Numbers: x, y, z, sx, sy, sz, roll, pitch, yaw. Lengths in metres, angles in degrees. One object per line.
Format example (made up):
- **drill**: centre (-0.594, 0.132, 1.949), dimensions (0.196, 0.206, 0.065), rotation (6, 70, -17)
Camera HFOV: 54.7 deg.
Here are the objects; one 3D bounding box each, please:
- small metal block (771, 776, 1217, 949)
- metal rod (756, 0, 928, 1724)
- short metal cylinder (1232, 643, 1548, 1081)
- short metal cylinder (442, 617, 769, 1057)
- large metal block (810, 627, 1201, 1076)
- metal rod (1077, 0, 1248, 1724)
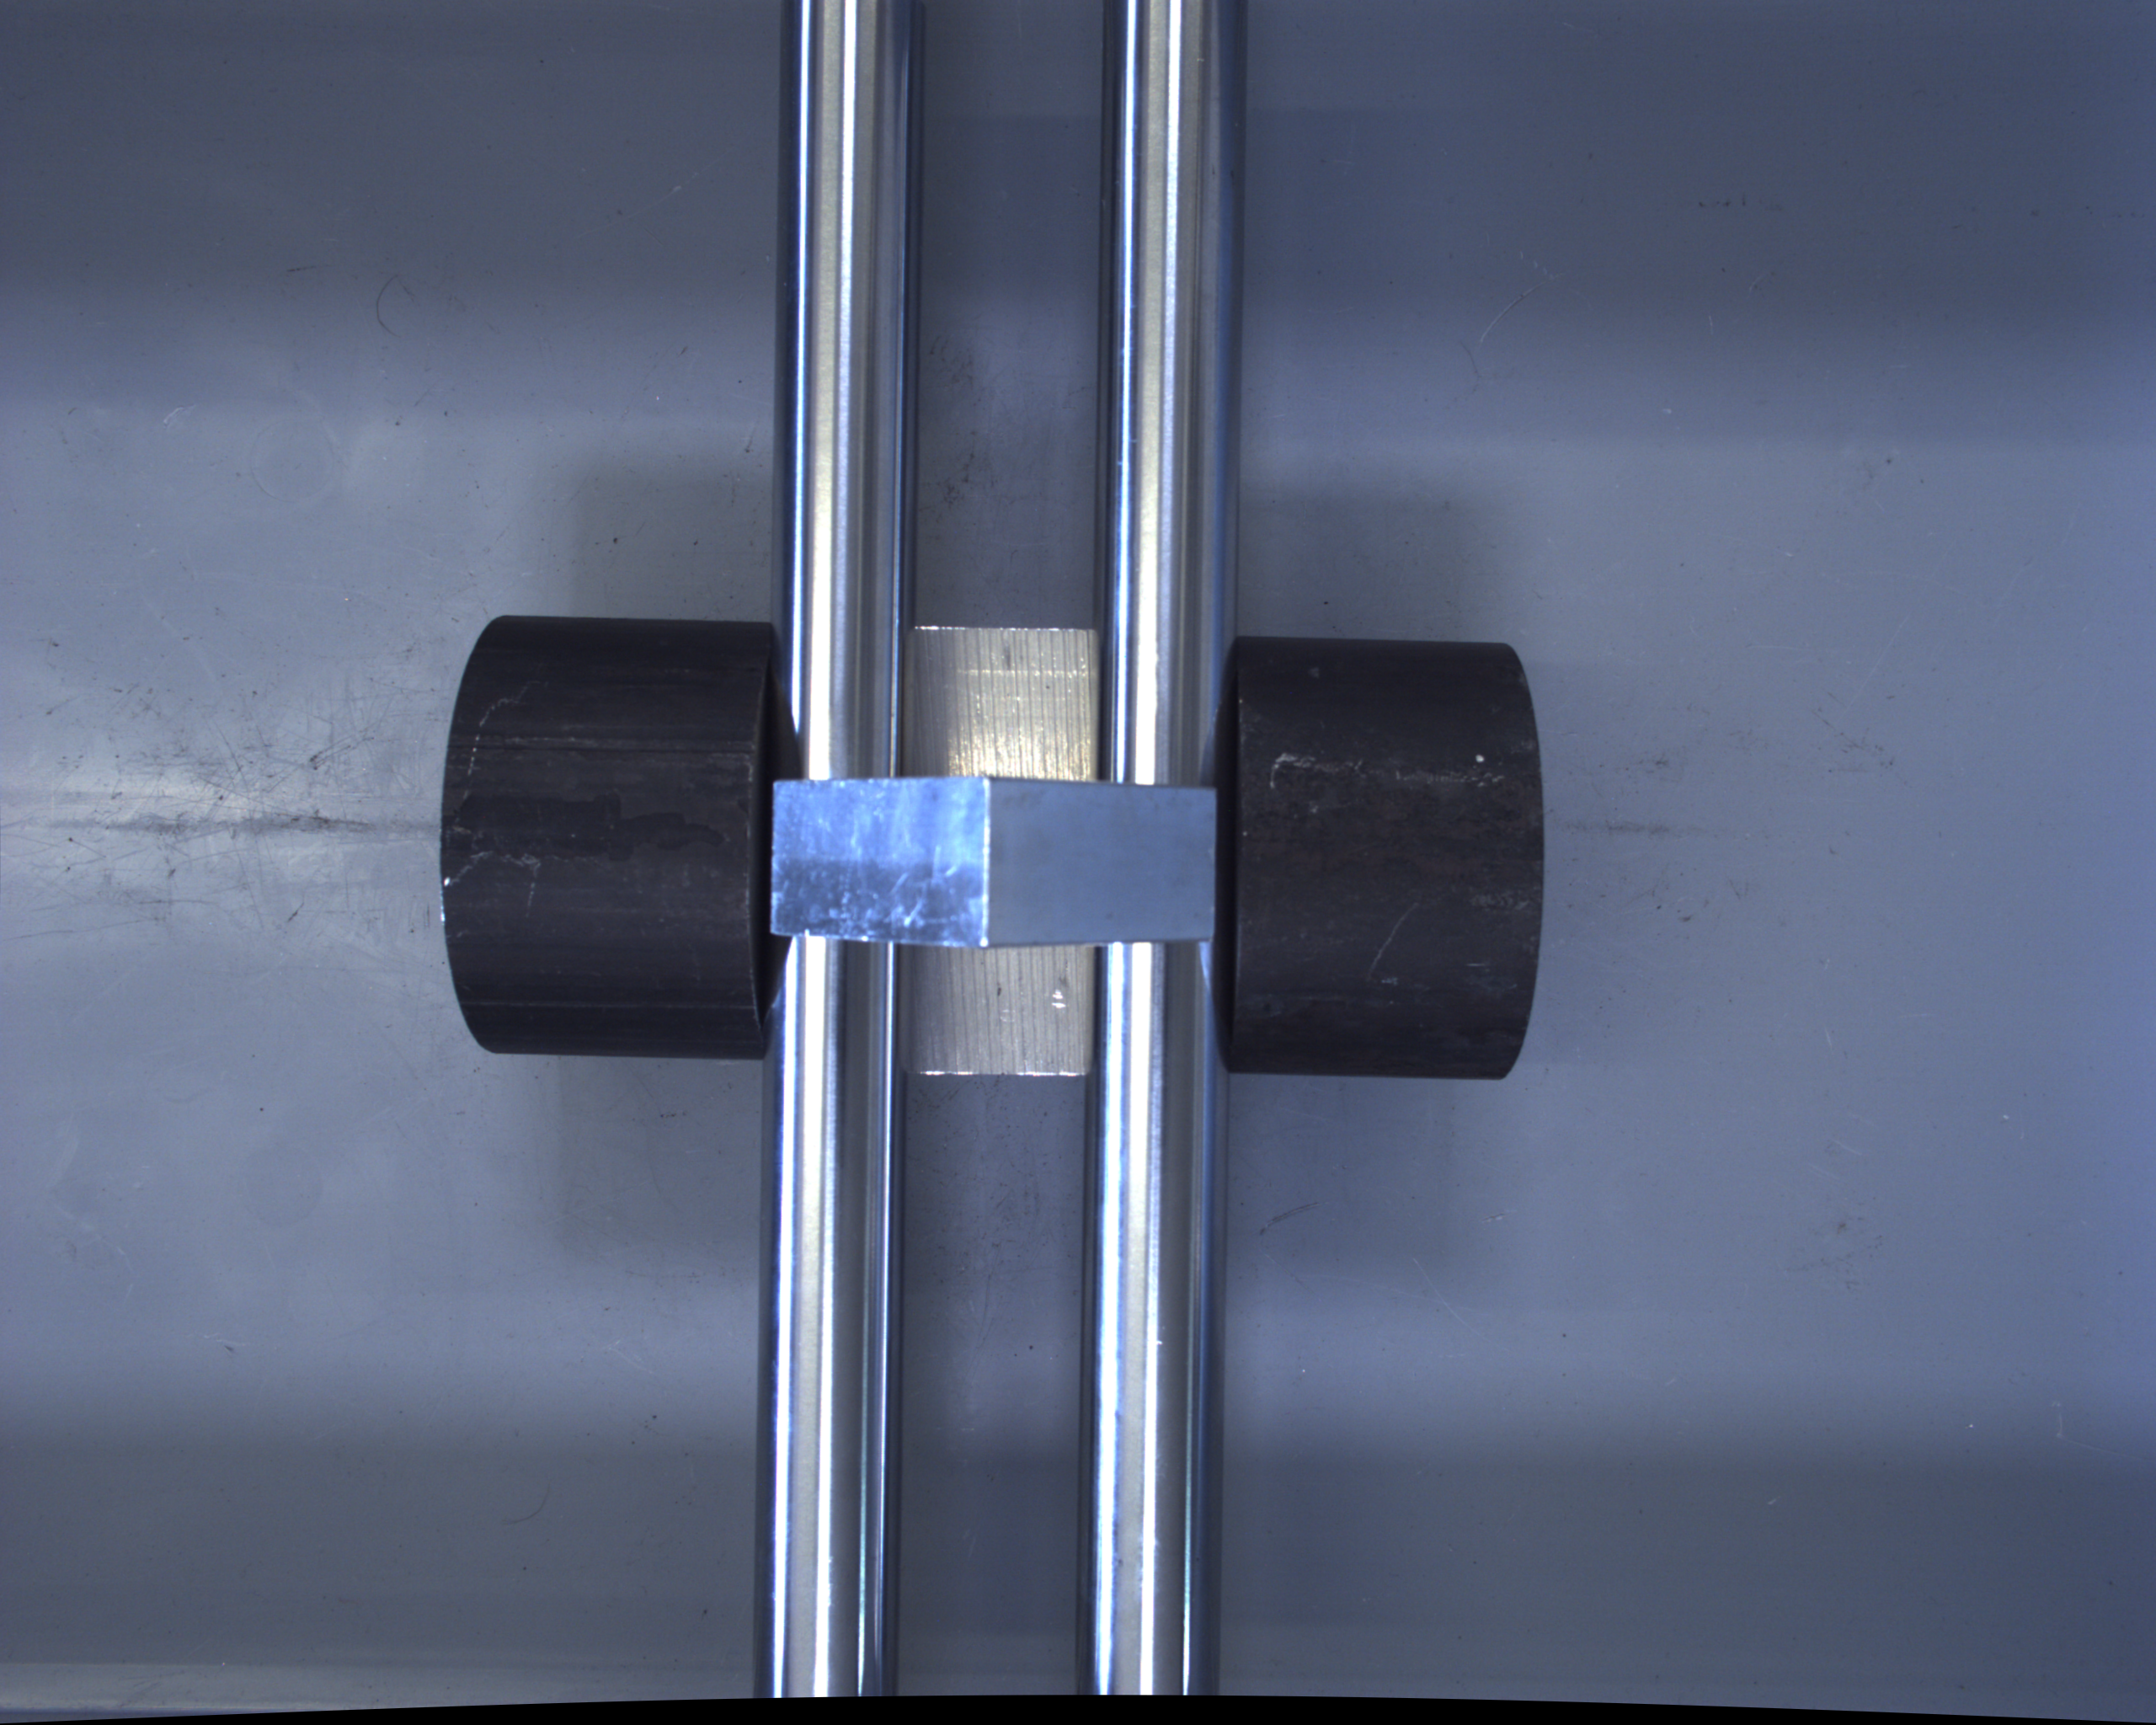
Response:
- **small metal block**: centre (-0.013, 0.000, 0.334), dimensions (0.050, 0.050, 0.025), rotation (1, 91, 44)
- **metal rod**: centre (-0.041, 0.002, 0.360), dimensions (0.025, 0.025, 0.298), rotation (1, 90, 0)
- **short metal cylinder**: centre (0.053, 0.000, 0.382), dimensions (0.050, 0.080, 0.079), rotation (1, 90, 1)
- **short metal cylinder**: centre (-0.079, -0.004, 0.382), dimensions (0.050, 0.080, 0.079), rotation (1, 90, 0)
- **large metal block**: centre (-0.014, -0.002, 0.397), dimensions (0.081, 0.050, 0.079), rotation (1, 90, 0)
- **metal rod**: centre (0.015, 0.000, 0.360), dimensions (0.025, 0.025, 0.298), rotation (1, 90, 0)
